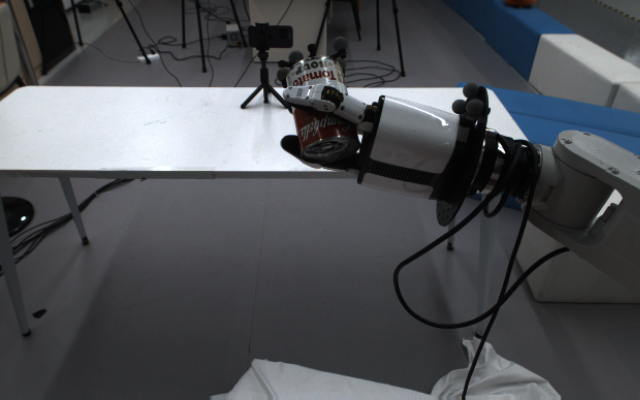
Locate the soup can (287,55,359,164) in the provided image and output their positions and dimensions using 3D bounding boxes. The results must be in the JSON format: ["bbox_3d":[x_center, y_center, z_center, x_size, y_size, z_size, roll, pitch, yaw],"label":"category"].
[{"bbox_3d":[0.004,-0.101,0.550,0.067,0.067,0.101,-8,74,-14],"label":"soup can"}]
